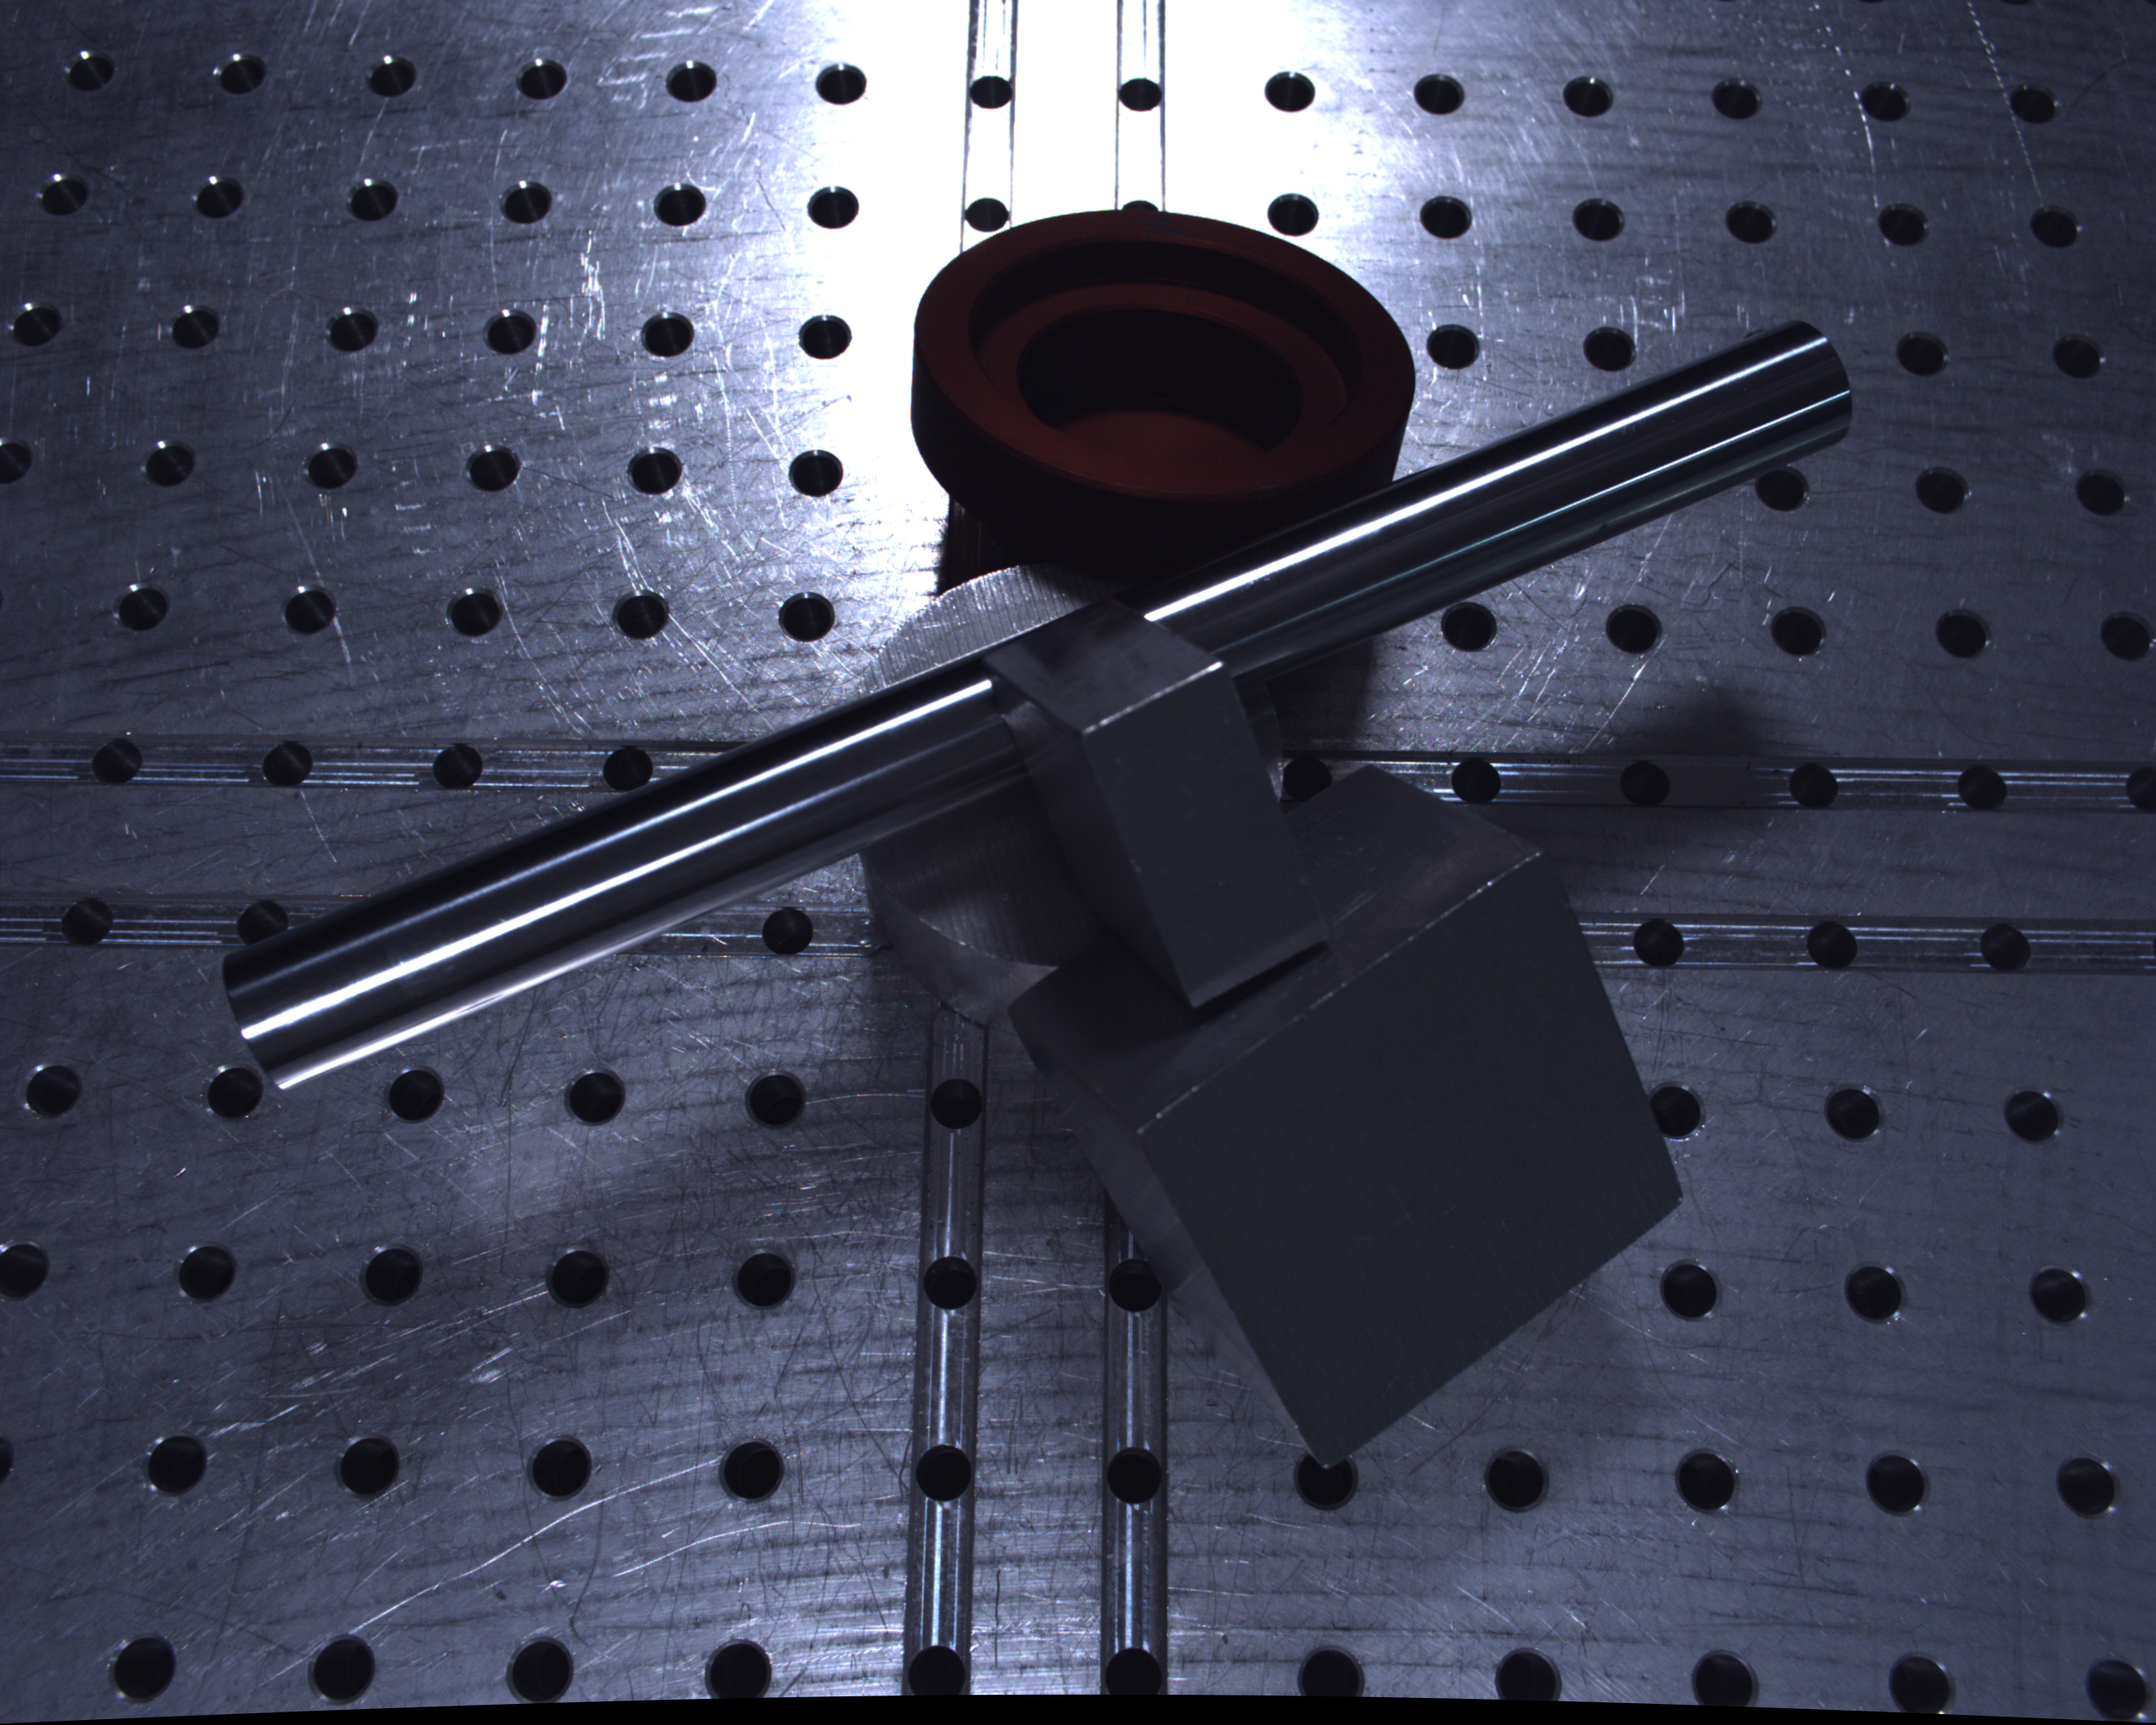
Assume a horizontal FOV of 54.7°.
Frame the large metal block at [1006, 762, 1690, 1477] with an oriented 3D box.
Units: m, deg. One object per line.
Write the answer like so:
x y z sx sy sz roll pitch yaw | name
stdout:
0.047 0.042 0.359 0.080 0.050 0.080 -34 118 -11 | large metal block

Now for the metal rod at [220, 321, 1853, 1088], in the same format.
0.001 -0.032 0.370 0.302 0.025 0.025 -23 72 -9 | metal rod

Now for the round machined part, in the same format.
0.015 -0.088 0.423 0.099 0.042 0.098 4 47 -4 | round machined part

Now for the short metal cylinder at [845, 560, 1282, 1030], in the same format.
-0.003 -0.011 0.402 0.081 0.050 0.080 0 70 0 | short metal cylinder

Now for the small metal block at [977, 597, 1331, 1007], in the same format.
0.012 -0.011 0.338 0.025 0.050 0.050 -28 115 -10 | small metal block
